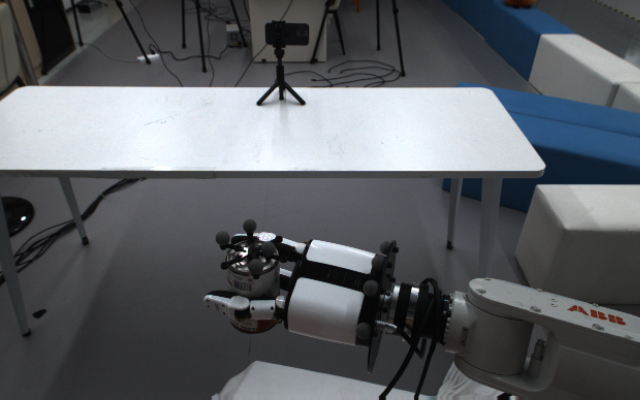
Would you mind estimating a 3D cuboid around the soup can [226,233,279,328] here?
[{"bbox_3d":[-0.082,0.111,0.615,0.067,0.101,0.067,2,32,-1],"label":"soup can"}]
